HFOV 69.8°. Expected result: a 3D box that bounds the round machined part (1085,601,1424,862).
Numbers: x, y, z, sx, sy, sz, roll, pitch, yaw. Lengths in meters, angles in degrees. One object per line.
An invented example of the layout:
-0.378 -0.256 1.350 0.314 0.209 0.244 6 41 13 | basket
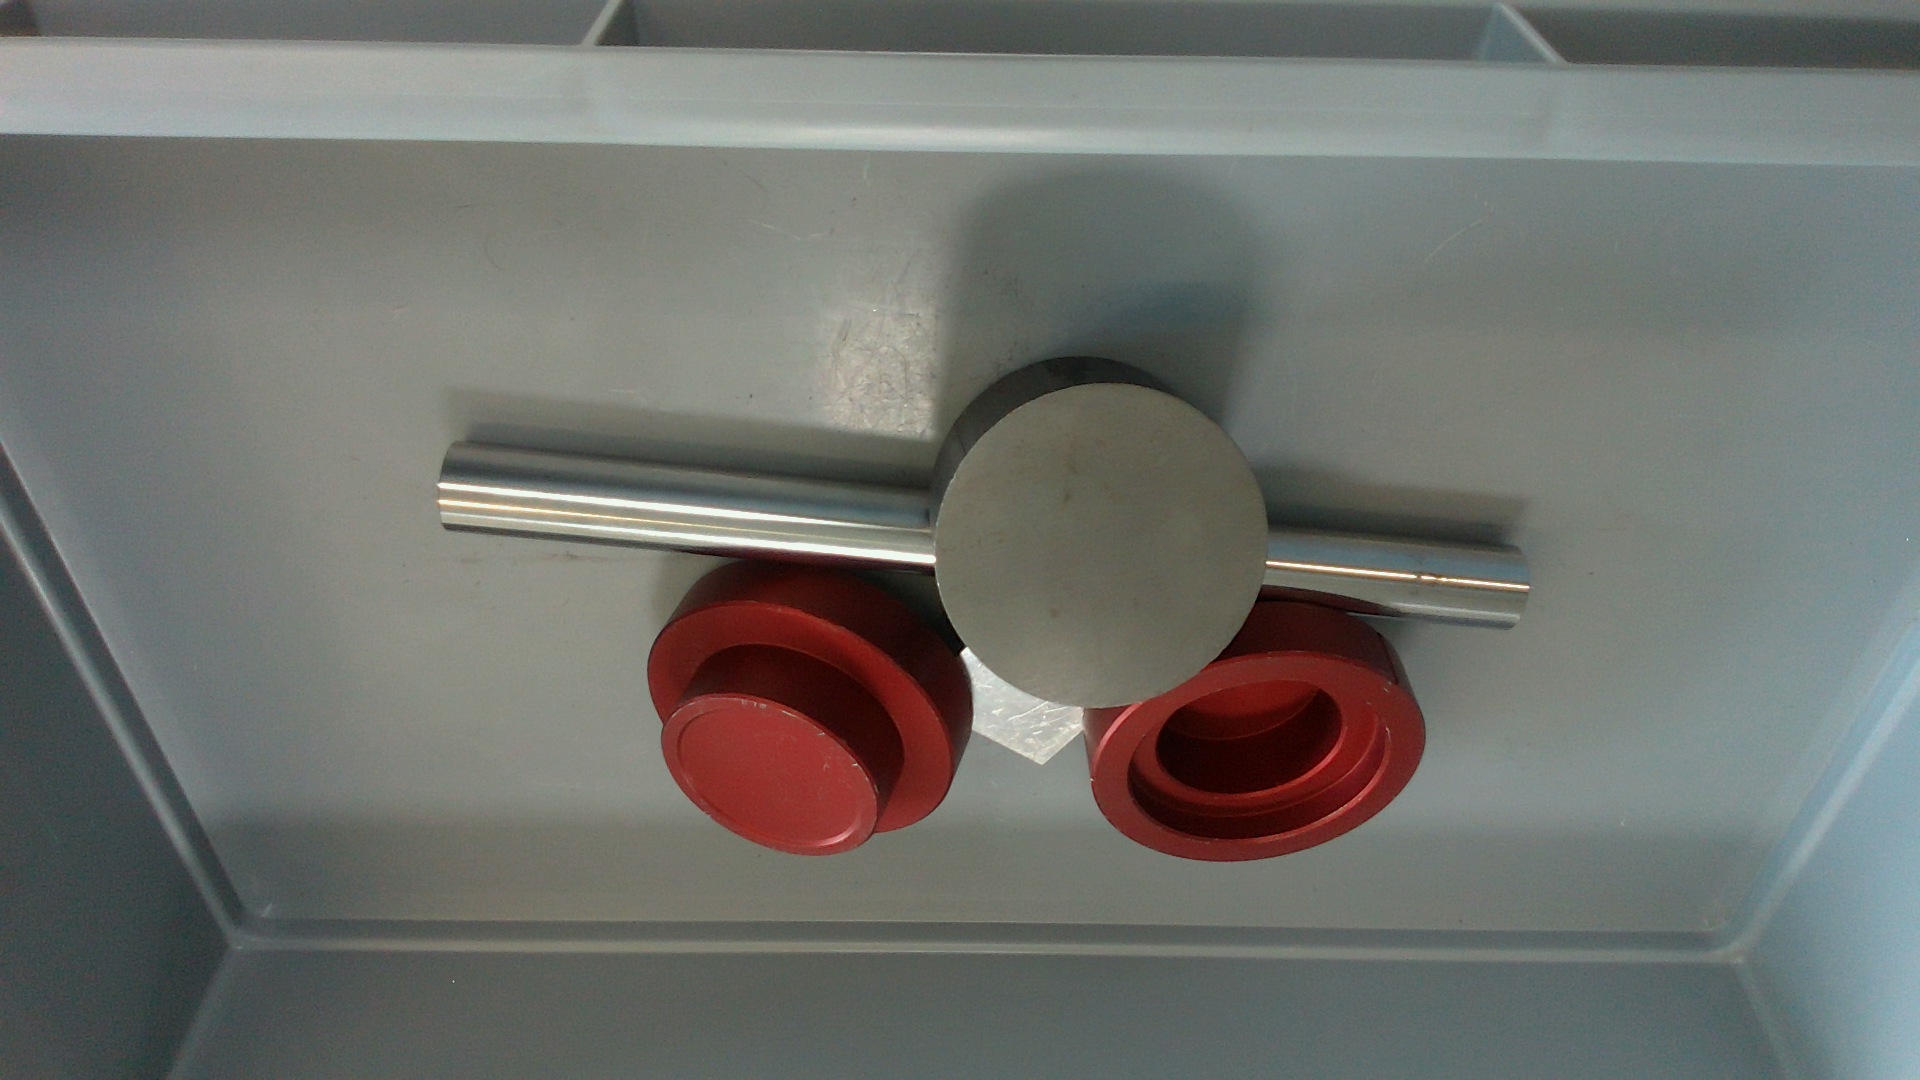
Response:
0.086 0.053 0.420 0.098 0.042 0.098 -2 133 -2 | round machined part

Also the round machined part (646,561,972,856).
-0.049 0.056 0.407 0.098 0.042 0.098 12 132 14 | round machined part

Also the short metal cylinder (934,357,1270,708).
0.033 -0.004 0.350 0.080 0.050 0.080 -1 105 -3 | short metal cylinder

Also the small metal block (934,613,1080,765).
0.020 0.036 0.419 0.050 0.025 0.050 29 124 -23 | small metal block

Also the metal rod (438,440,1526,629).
0.010 -0.001 0.388 0.300 0.025 0.025 5 130 -5 | metal rod
